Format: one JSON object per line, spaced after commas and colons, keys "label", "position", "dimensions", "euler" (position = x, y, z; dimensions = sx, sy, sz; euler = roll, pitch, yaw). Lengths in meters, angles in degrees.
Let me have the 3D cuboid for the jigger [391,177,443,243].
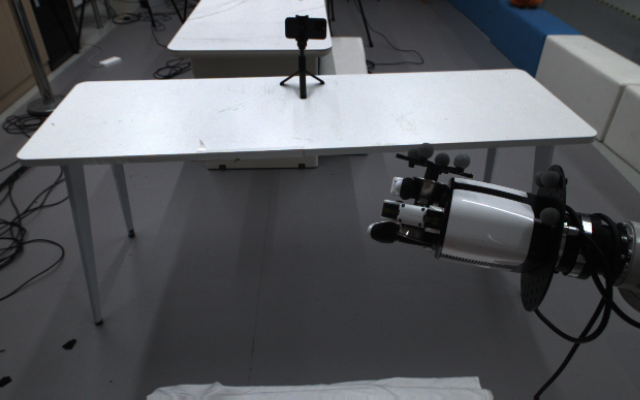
{"label": "jigger", "position": [0.116, 0.011, 0.549], "dimensions": [0.043, 0.071, 0.043], "euler": [17, 2, -1]}
